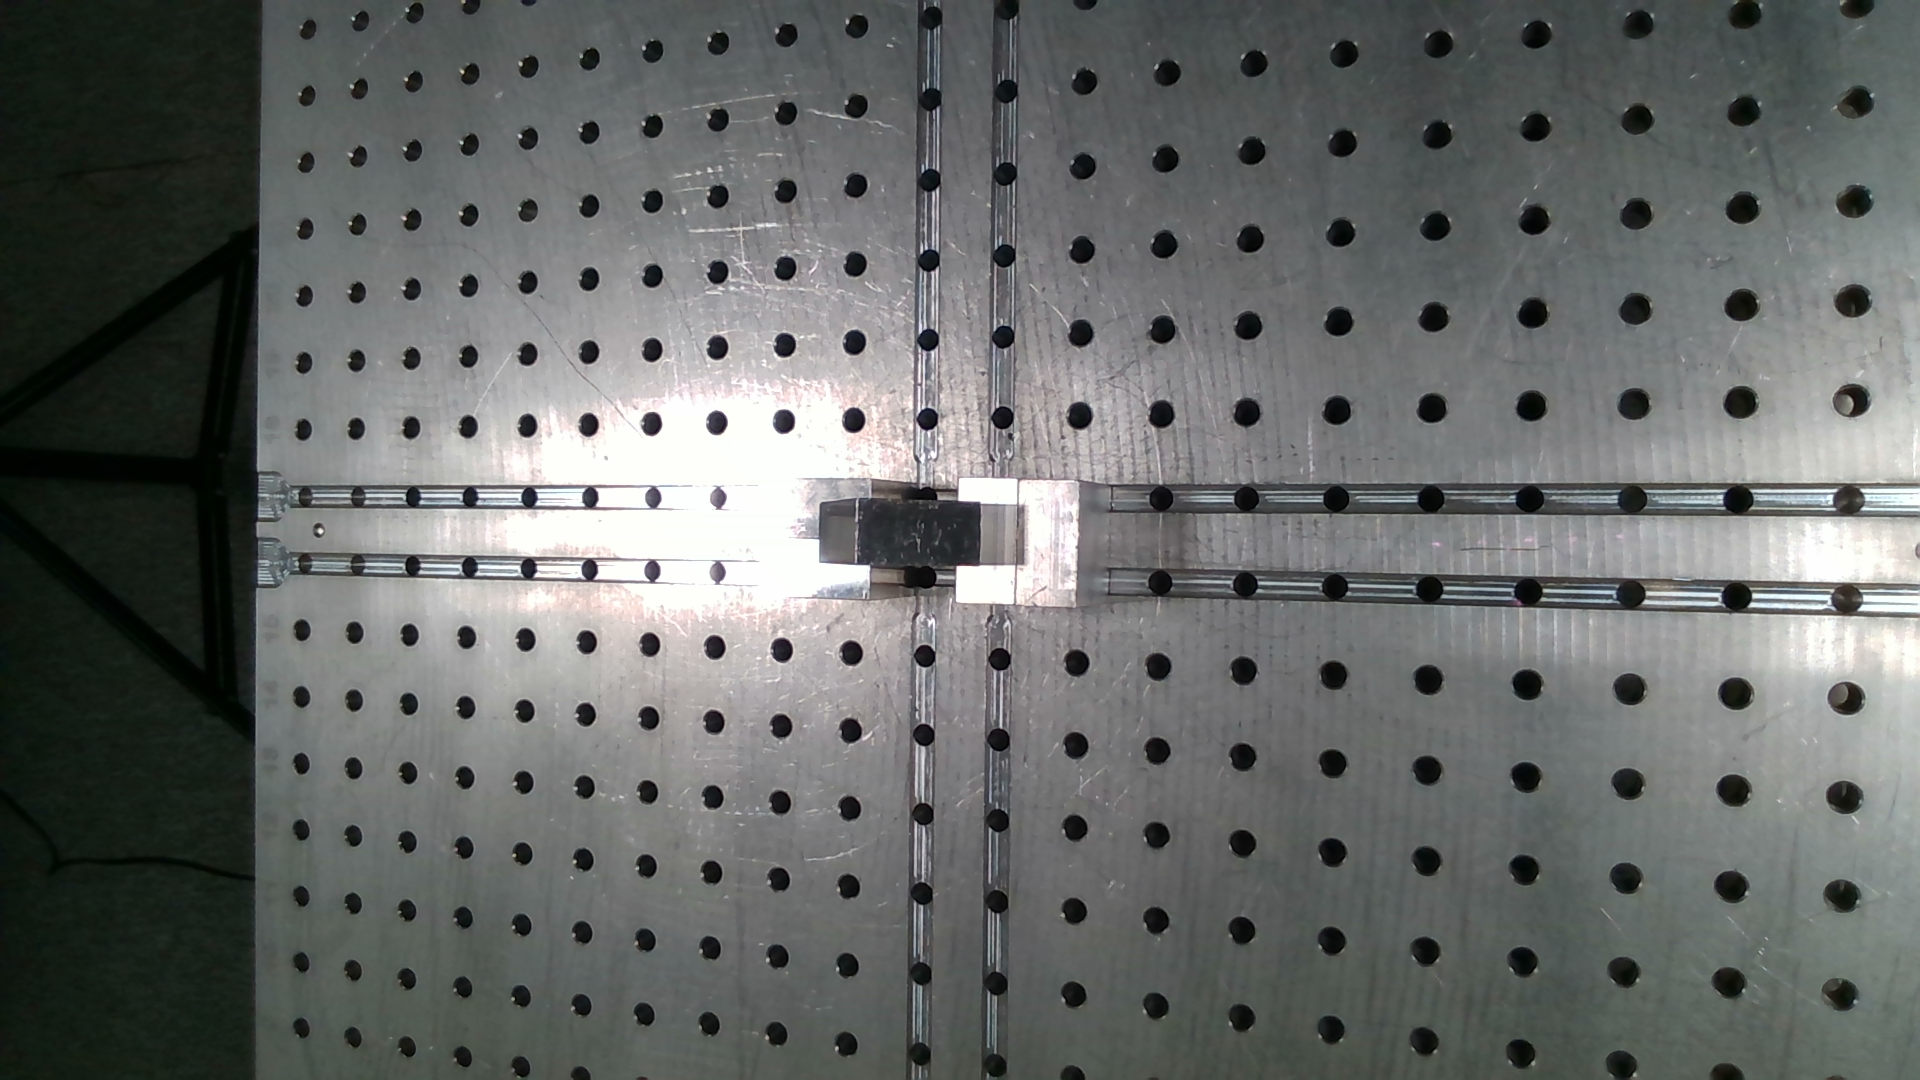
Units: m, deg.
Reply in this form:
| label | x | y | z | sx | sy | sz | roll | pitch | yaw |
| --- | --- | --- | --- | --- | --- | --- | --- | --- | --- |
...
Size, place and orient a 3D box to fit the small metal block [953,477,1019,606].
| label | x | y | z | sx | sy | sz | roll | pitch | yaw |
| --- | --- | --- | --- | --- | --- | --- | --- | --- | --- |
| small metal block | 0.018 | 0.000 | 0.567 | 0.025 | 0.050 | 0.050 | 2 | 91 | 20 |

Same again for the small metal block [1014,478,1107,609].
| label | x | y | z | sx | sy | sz | roll | pitch | yaw |
| --- | --- | --- | --- | --- | --- | --- | --- | --- | --- |
| small metal block | 0.042 | 0.001 | 0.559 | 0.025 | 0.050 | 0.050 | 2 | 91 | 20 |

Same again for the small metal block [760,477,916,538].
| label | x | y | z | sx | sy | sz | roll | pitch | yaw |
| --- | --- | --- | --- | --- | --- | --- | --- | --- | --- |
| small metal block | -0.052 | -0.013 | 0.594 | 0.050 | 0.050 | 0.025 | 1 | 91 | 20 |

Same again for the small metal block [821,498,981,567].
| label | x | y | z | sx | sy | sz | roll | pitch | yaw |
| --- | --- | --- | --- | --- | --- | --- | --- | --- | --- |
| small metal block | -0.025 | -0.003 | 0.540 | 0.050 | 0.050 | 0.025 | 1 | 90 | -22 |

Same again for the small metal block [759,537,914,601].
| label | x | y | z | sx | sy | sz | roll | pitch | yaw |
| --- | --- | --- | --- | --- | --- | --- | --- | --- | --- |
| small metal block | -0.052 | 0.012 | 0.593 | 0.050 | 0.050 | 0.025 | 1 | 91 | 20 |
